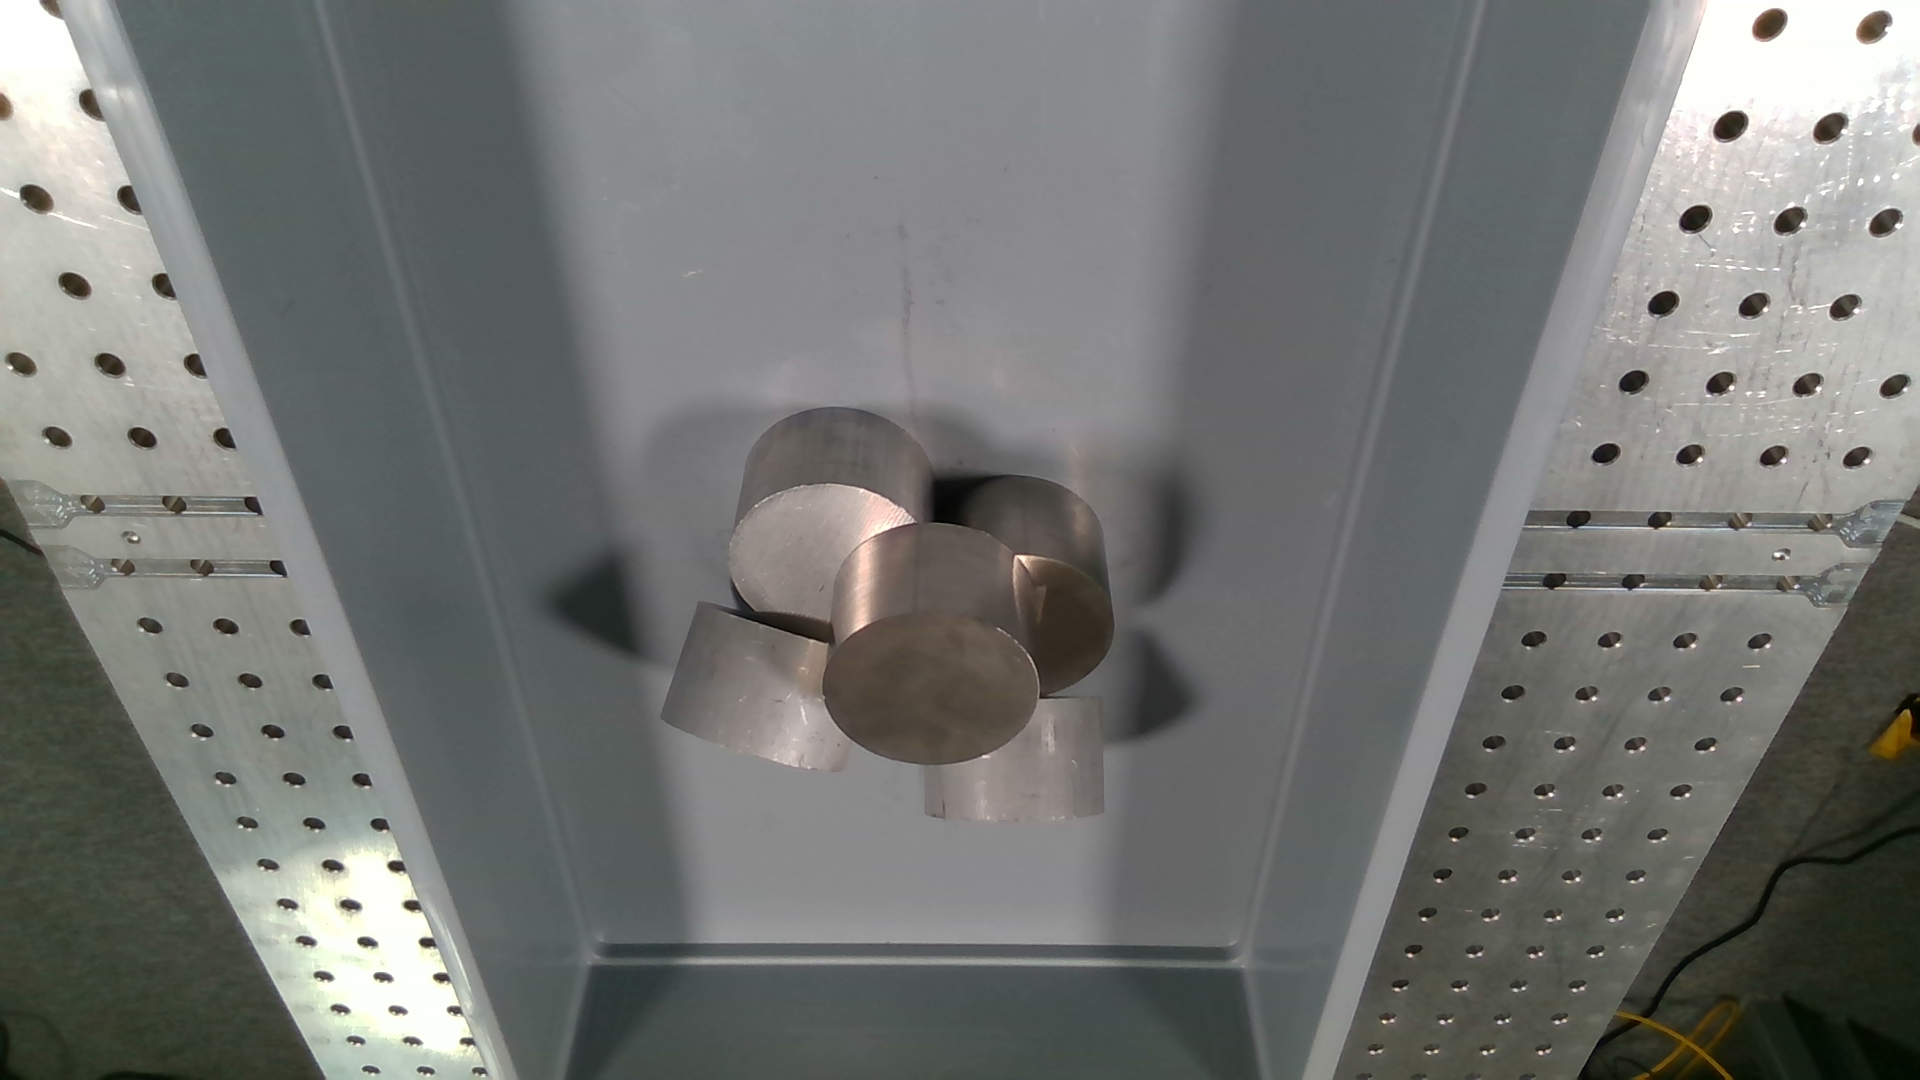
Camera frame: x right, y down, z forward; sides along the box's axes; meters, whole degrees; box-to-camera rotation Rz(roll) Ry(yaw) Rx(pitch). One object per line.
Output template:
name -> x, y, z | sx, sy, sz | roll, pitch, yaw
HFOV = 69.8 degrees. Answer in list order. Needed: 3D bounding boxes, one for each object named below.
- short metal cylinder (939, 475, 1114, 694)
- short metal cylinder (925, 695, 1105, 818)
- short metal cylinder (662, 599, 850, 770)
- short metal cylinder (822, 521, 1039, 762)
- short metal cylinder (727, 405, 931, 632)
short metal cylinder -> 0.022, 0.020, 0.577 | 0.080, 0.050, 0.080 | 0, 130, 0
short metal cylinder -> 0.024, 0.095, 0.614 | 0.080, 0.050, 0.080 | -1, 174, 0
short metal cylinder -> -0.080, 0.061, 0.584 | 0.080, 0.080, 0.050 | 18, 87, -15
short metal cylinder -> -0.011, 0.039, 0.528 | 0.080, 0.050, 0.080 | 0, 130, 0
short metal cylinder -> -0.051, -0.007, 0.556 | 0.080, 0.050, 0.080 | 0, 130, 0
